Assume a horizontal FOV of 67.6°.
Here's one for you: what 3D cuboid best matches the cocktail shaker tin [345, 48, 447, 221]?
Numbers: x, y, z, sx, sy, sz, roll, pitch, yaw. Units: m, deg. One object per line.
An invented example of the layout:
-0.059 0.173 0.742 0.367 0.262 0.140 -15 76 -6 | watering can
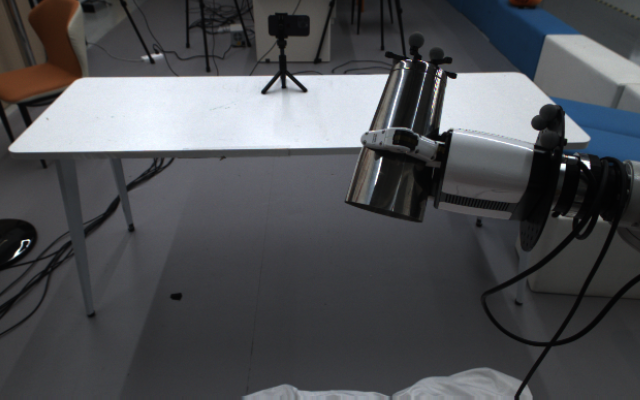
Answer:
0.095 -0.068 0.559 0.093 0.170 0.093 16 -4 1 | cocktail shaker tin
